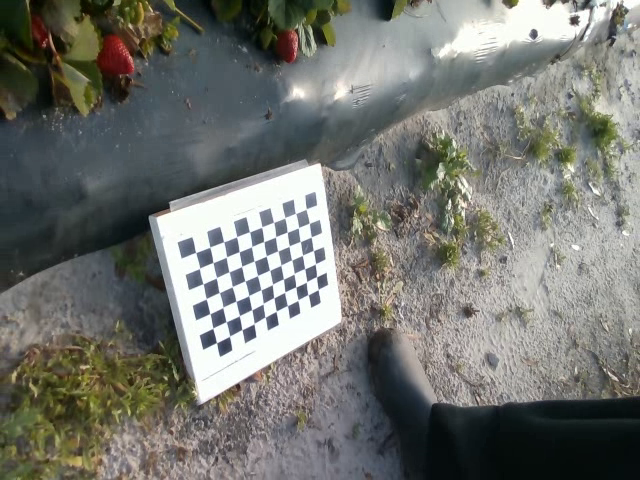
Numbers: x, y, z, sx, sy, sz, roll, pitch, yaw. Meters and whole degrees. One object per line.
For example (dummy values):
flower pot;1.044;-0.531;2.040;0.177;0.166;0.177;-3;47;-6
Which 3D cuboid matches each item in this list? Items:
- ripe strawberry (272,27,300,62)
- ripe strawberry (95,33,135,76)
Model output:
ripe strawberry;-0.028;-0.176;0.584;0.029;0.036;0.021;-20;12;-36
ripe strawberry;-0.148;-0.130;0.465;0.030;0.032;0.025;37;-21;-20
